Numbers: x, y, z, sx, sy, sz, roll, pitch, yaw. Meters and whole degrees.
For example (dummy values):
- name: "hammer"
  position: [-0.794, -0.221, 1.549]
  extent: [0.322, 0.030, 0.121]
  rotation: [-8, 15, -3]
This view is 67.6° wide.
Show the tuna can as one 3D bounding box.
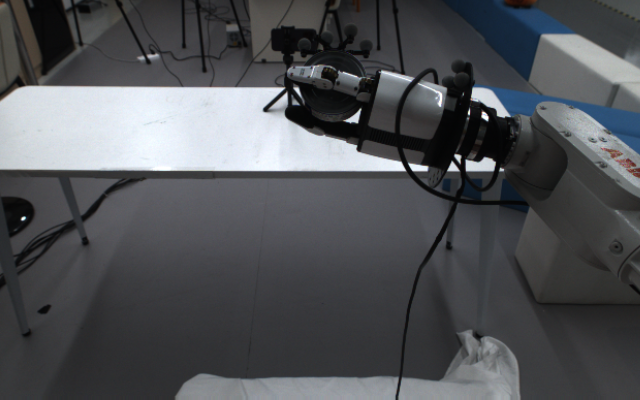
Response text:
- name: "tuna can"
  position: [0.016, -0.144, 0.614]
  extent: [0.085, 0.034, 0.085]
  rotation: [-1, 76, 4]
